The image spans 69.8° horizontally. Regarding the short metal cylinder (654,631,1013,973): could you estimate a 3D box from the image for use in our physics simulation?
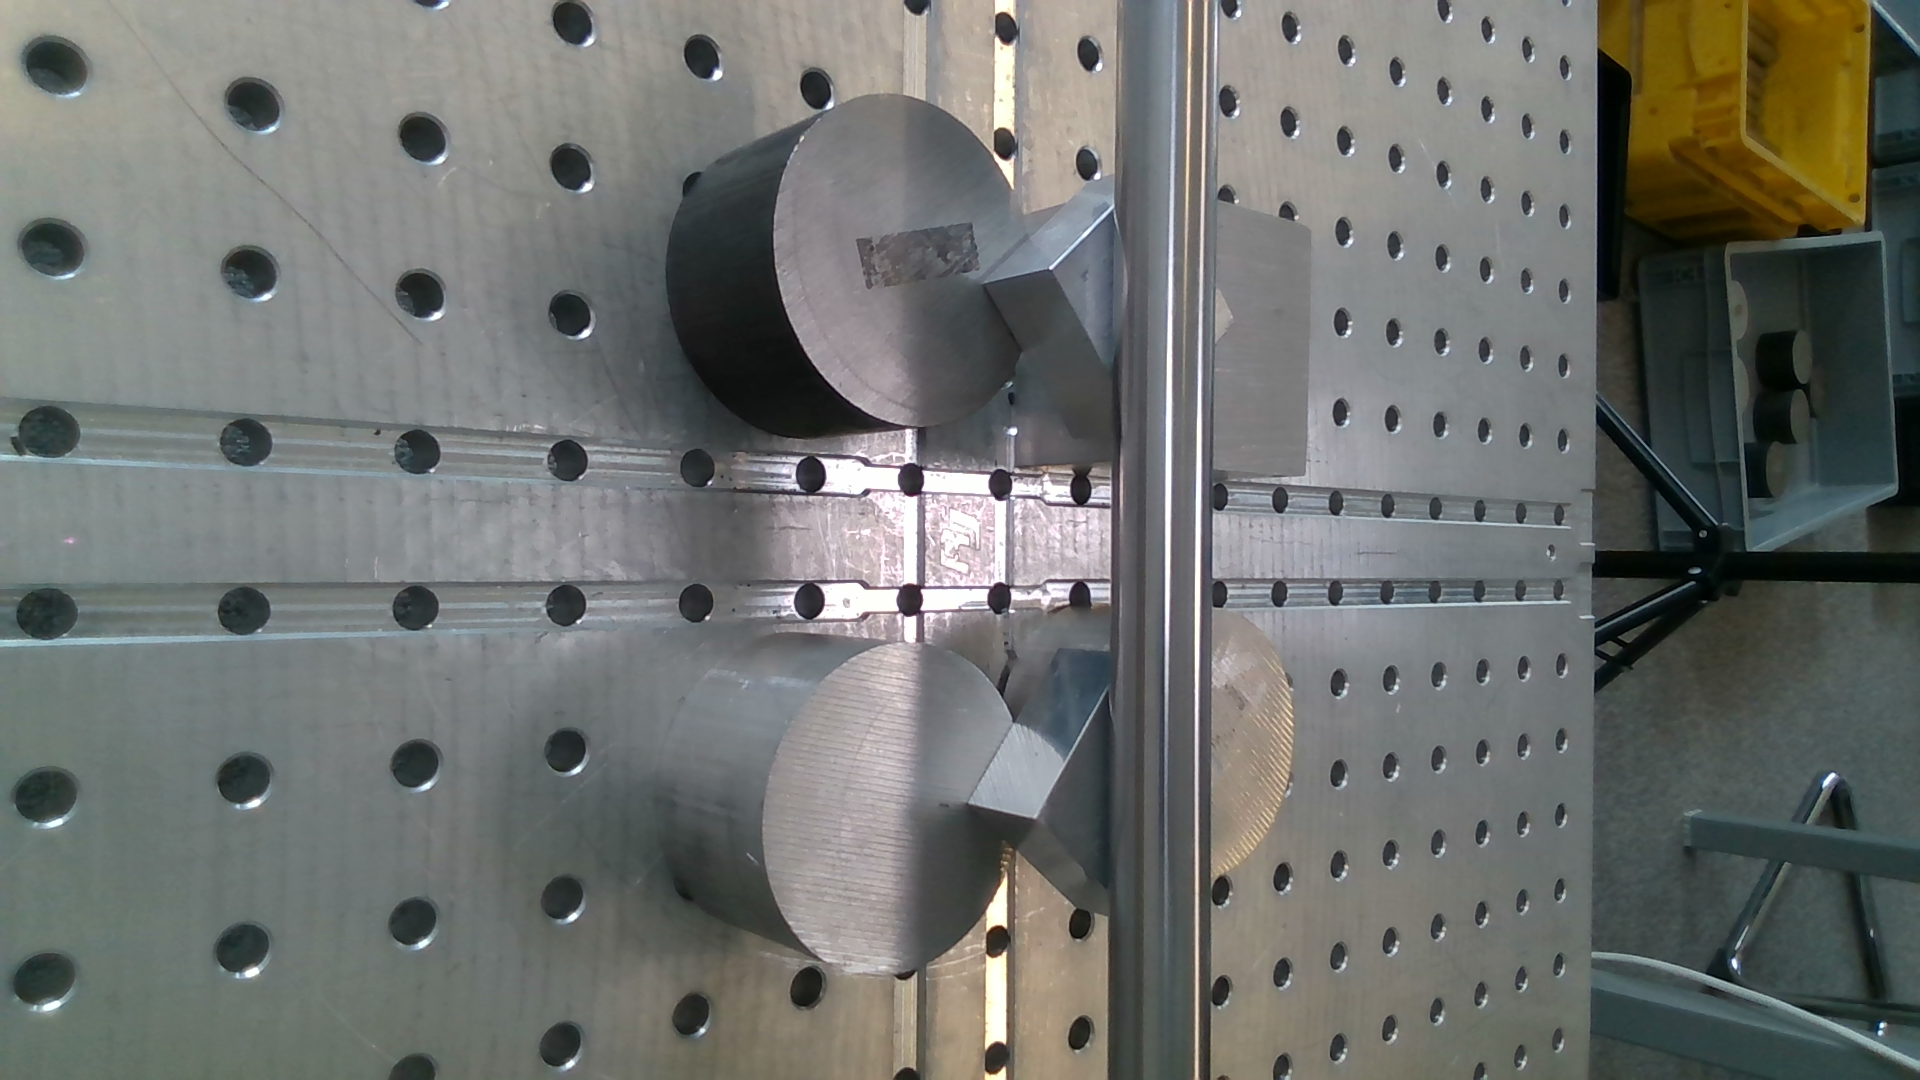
[{"bbox_3d":[-0.030,0.064,0.353,0.080,0.050,0.080,0,90,-40],"label":"short metal cylinder"}]

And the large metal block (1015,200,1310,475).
[{"bbox_3d":[0.064,-0.062,0.432,0.080,0.050,0.080,2,89,-40],"label":"large metal block"}]

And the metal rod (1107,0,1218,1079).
[{"bbox_3d":[0.050,-0.012,0.338,0.025,0.025,0.300,1,90,-40],"label":"metal rod"}]

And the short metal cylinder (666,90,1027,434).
[{"bbox_3d":[-0.027,-0.068,0.354,0.080,0.050,0.080,0,90,-40],"label":"short metal cylinder"}]

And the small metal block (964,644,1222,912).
[{"bbox_3d":[0.036,0.063,0.360,0.050,0.025,0.050,48,61,-30],"label":"small metal block"}]

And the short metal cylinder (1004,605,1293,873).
[{"bbox_3d":[0.059,0.060,0.428,0.080,0.050,0.080,0,90,-40],"label":"short metal cylinder"}]

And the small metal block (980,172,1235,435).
[{"bbox_3d":[0.040,-0.064,0.363,0.050,0.025,0.050,-48,119,-30],"label":"small metal block"}]
